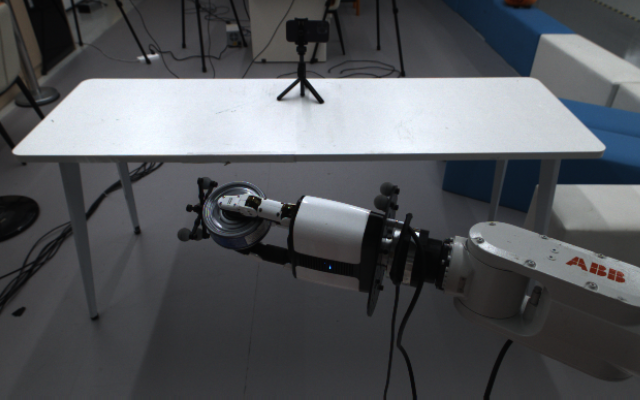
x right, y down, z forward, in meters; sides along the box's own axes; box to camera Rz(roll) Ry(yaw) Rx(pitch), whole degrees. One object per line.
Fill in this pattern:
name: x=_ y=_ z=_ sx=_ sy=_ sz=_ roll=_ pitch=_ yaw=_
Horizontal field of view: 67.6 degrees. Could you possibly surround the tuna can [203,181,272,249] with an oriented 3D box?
tuna can: x=-0.104 y=0.018 z=0.623 sx=0.085 sy=0.034 sz=0.085 roll=-2 pitch=58 yaw=3
